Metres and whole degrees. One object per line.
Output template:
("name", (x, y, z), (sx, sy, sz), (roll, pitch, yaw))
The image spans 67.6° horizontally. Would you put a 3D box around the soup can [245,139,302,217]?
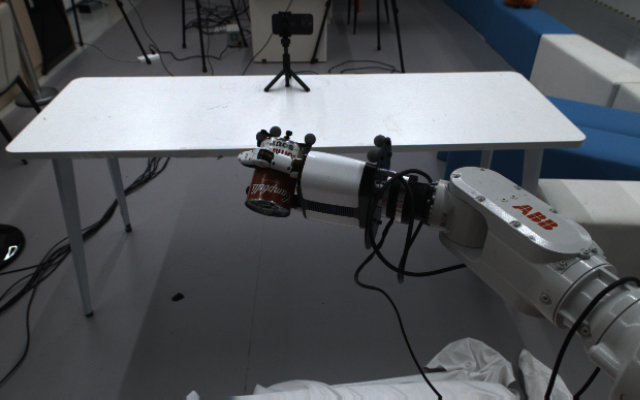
("soup can", (-0.066, -0.033, 0.711), (0.067, 0.067, 0.101), (9, 71, 9))
